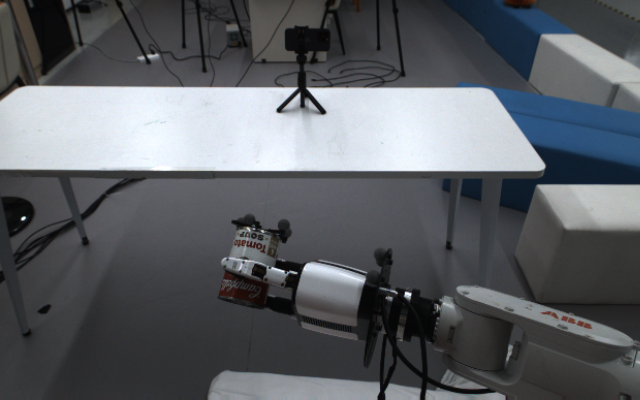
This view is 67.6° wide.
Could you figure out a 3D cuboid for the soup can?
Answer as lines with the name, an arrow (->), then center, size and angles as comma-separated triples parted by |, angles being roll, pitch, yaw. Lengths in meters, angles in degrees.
soup can -> -0.097, 0.096, 0.681 | 0.067, 0.067, 0.101 | 9, 72, 10
